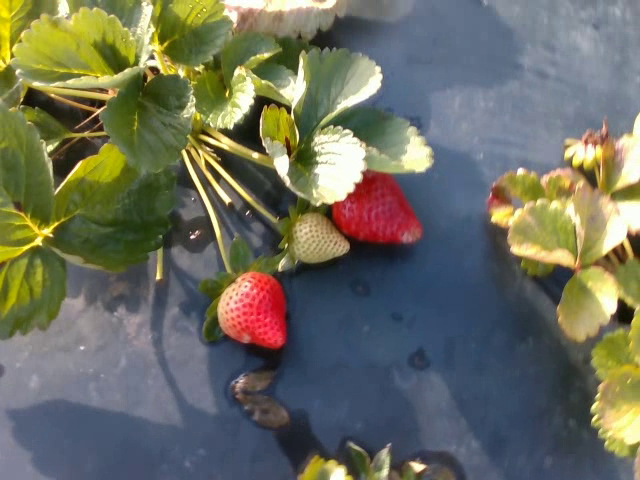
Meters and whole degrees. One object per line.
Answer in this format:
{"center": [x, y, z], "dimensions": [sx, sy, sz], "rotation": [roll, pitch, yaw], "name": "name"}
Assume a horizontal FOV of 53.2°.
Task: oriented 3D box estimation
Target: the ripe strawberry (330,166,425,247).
{"center": [0.037, -0.015, 0.379], "dimensions": [0.064, 0.049, 0.050], "rotation": [37, 26, 2], "name": "ripe strawberry"}
